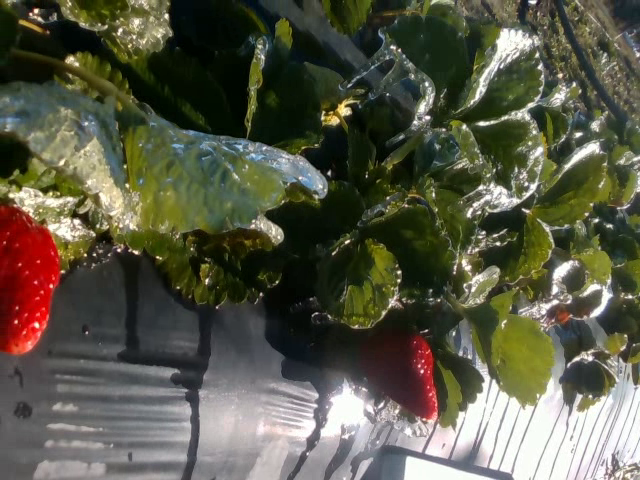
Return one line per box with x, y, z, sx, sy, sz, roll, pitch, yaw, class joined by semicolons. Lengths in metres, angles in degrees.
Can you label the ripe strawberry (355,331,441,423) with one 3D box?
0.044;0.069;0.293;0.042;0.052;0.047;23;-61;-43;ripe strawberry
